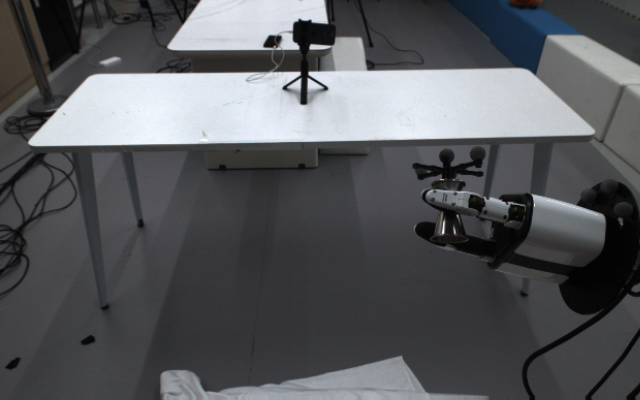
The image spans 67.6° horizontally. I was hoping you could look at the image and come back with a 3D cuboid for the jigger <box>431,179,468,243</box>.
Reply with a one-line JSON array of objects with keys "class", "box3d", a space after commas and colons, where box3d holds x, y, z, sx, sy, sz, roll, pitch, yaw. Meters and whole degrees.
[{"class": "jigger", "box3d": [0.150, 0.012, 0.572, 0.043, 0.043, 0.071, 3, 75, 1]}]
